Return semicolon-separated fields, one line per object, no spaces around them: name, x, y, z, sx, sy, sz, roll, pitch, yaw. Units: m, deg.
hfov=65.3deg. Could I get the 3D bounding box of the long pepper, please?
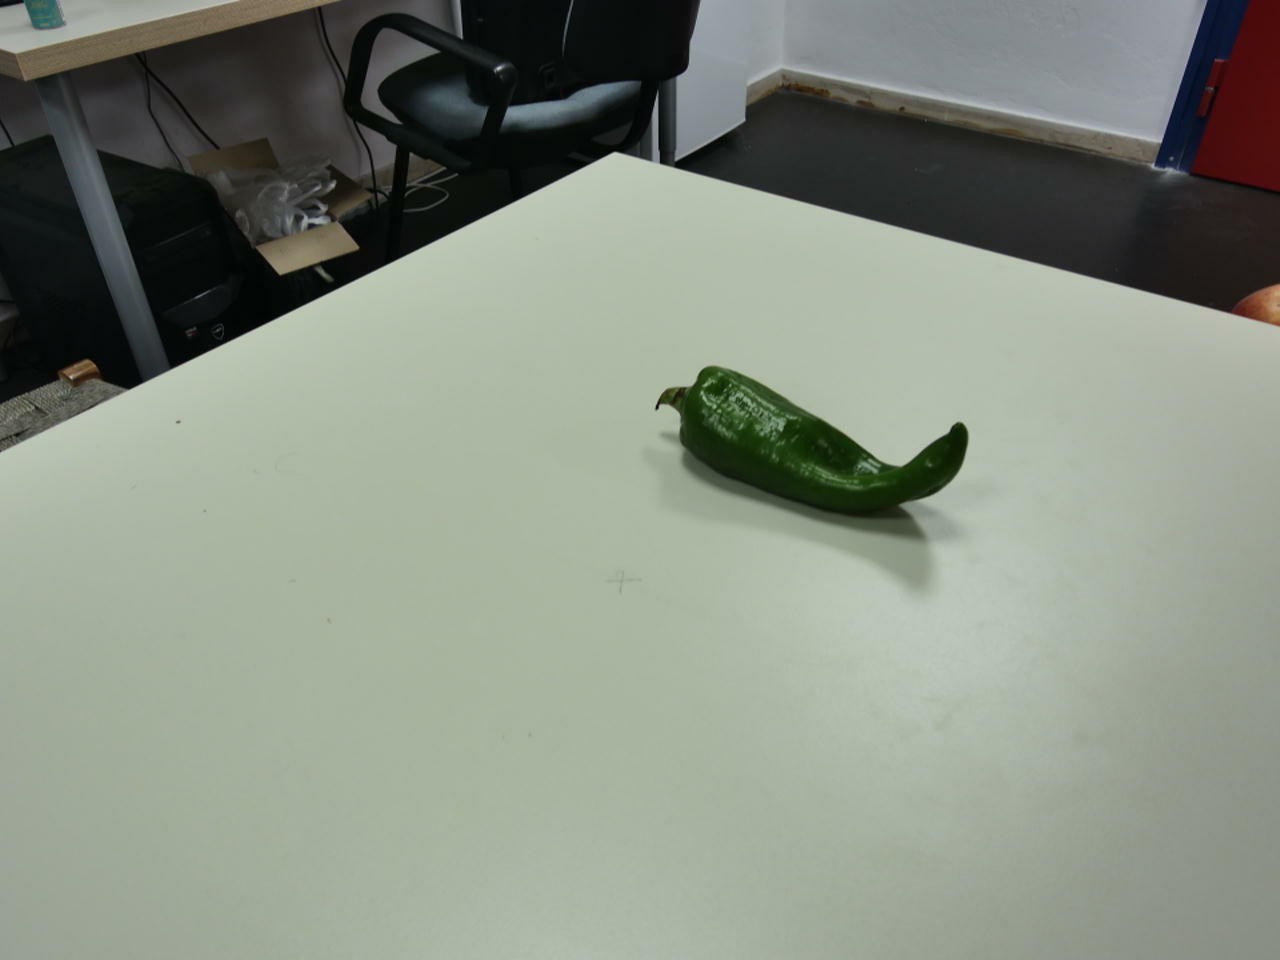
long pepper;0.083;-0.025;0.535;0.175;0.065;0.058;24;43;28
